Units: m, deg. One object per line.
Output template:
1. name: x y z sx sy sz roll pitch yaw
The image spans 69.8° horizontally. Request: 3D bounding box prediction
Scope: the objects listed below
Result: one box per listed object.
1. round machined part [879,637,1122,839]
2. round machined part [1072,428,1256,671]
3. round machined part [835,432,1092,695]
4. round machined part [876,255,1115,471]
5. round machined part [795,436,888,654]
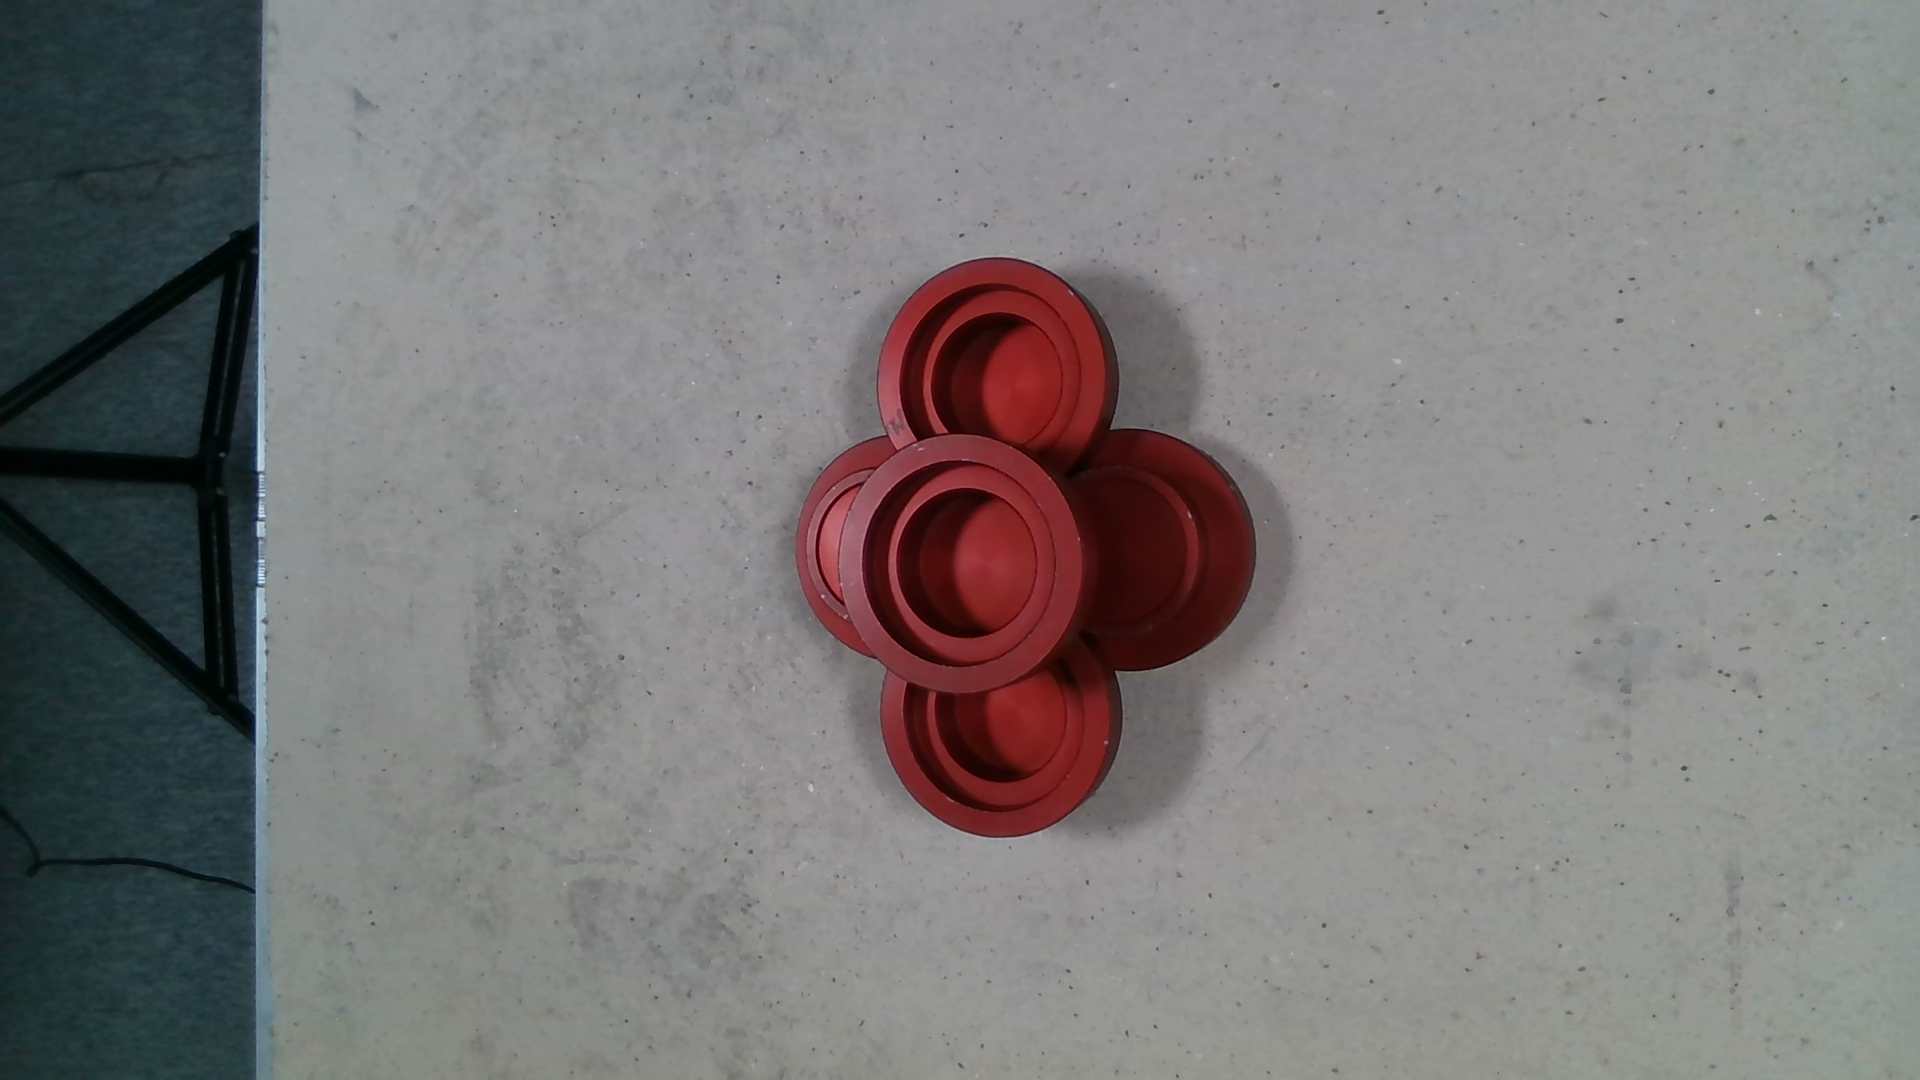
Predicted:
1. round machined part: 0.019 0.071 0.570 0.098 0.042 0.098 0 91 20
2. round machined part: 0.066 0.004 0.552 0.098 0.042 0.098 0 91 20
3. round machined part: 0.005 0.009 0.530 0.098 0.042 0.098 0 91 21
4. round machined part: 0.018 -0.065 0.569 0.098 0.042 0.098 0 91 20
5. round machined part: -0.027 0.004 0.586 0.098 0.042 0.098 0 91 20
